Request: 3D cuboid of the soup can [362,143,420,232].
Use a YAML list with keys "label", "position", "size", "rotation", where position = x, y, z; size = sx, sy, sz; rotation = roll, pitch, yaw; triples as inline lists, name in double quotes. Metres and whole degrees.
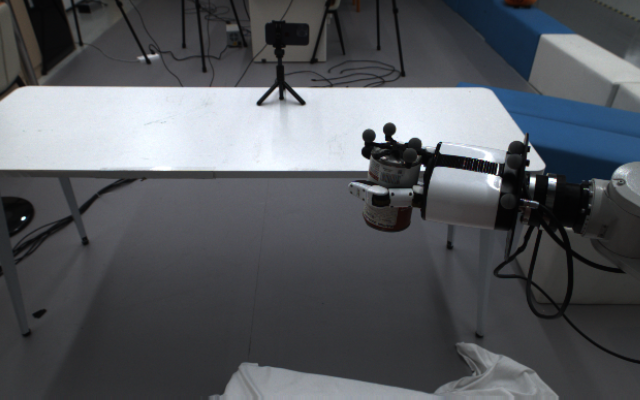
- label: "soup can"
  position: [0.096, -0.018, 0.649]
  size: [0.067, 0.101, 0.067]
  rotation: [4, 30, -2]
